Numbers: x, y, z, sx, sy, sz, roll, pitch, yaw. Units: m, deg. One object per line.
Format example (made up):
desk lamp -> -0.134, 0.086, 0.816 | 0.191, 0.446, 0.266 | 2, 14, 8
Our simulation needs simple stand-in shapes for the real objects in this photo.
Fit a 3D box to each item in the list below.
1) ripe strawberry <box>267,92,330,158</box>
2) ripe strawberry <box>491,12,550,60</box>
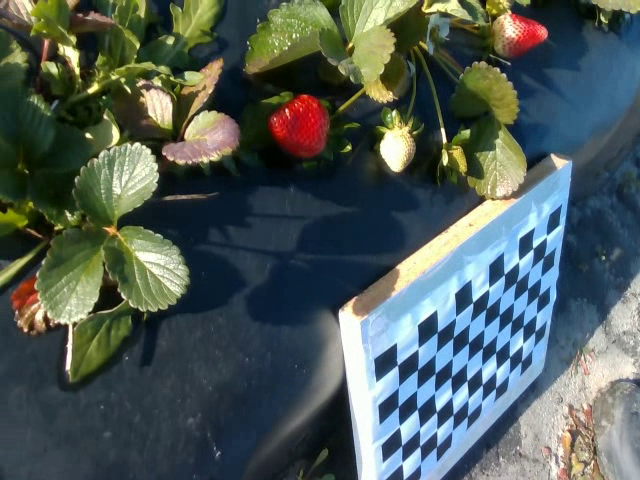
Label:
ripe strawberry -> -0.014, -0.064, 0.348 | 0.036, 0.044, 0.053 | 25, 18, 32
ripe strawberry -> 0.143, -0.147, 0.459 | 0.045, 0.042, 0.037 | -1, -40, 23
